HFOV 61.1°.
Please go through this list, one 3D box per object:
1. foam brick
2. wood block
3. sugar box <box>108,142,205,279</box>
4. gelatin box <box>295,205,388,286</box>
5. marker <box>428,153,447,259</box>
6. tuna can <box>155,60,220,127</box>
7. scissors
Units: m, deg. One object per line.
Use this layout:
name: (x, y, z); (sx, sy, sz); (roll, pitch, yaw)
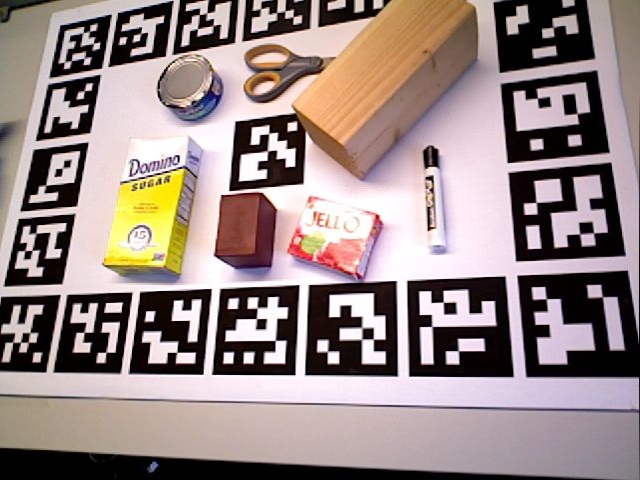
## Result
foam brick: (-0.079, -0.001, 0.643); (0.053, 0.051, 0.077); (-2, 74, 18)
wood block: (0.089, -0.175, 0.625); (0.206, 0.091, 0.090); (-47, 65, -1)
sugar box: (-0.211, -0.038, 0.708); (0.093, 0.045, 0.175); (1, 74, 18)
gelatin box: (0.024, 0.005, 0.623); (0.089, 0.030, 0.073); (15, 80, 22)
marker: (0.130, -0.040, 0.604); (0.020, 0.019, 0.120); (-2, 76, 17)
tuna can: (-0.181, -0.200, 0.748); (0.086, 0.034, 0.085); (-6, 73, 17)
scissors: (-0.012, -0.217, 0.709); (0.204, 0.016, 0.087); (3, 75, 21)
